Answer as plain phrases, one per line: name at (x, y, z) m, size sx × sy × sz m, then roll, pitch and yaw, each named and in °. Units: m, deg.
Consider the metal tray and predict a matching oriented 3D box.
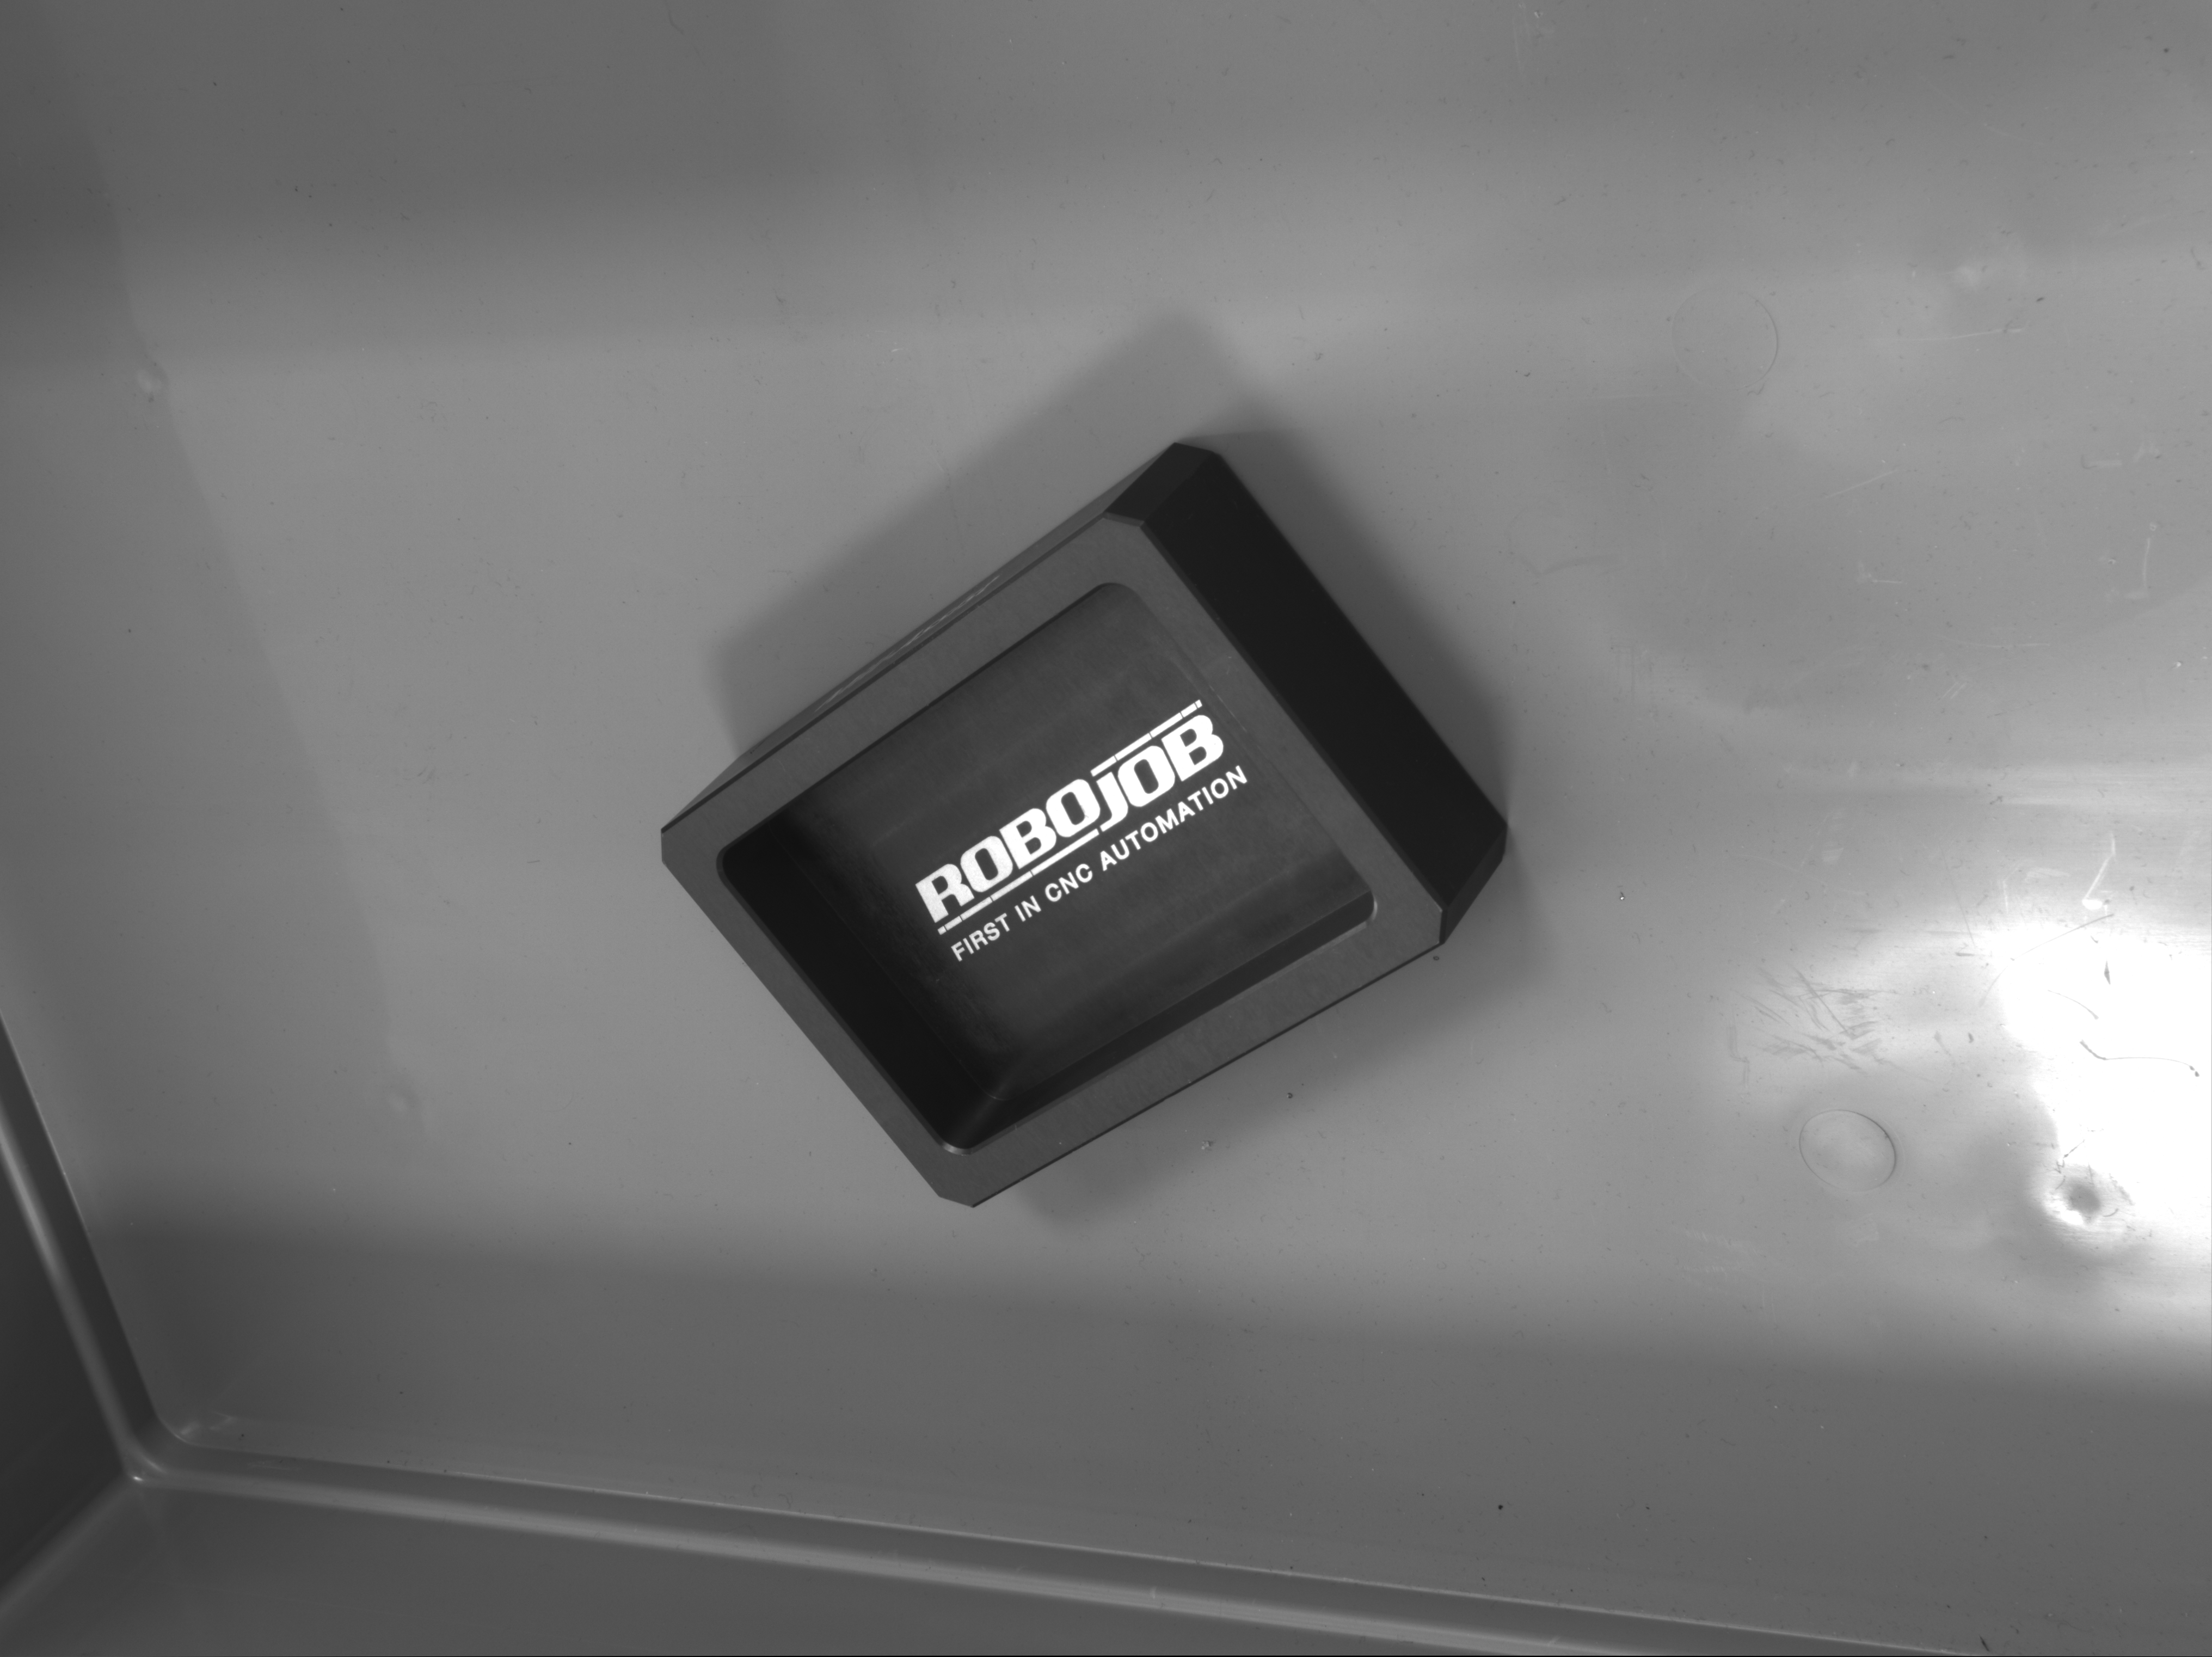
metal tray at (-0.006, 0.003, 0.642) m, size 0.130 × 0.030 × 0.090 m, roll -33°, pitch 100°, yaw 38°
